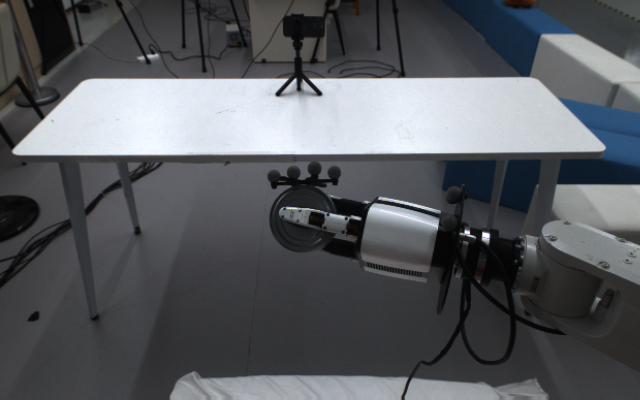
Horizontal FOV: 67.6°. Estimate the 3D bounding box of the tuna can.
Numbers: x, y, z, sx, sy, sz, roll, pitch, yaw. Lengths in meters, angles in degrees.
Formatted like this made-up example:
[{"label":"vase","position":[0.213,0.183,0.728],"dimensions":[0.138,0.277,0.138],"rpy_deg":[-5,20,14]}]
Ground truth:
[{"label":"tuna can","position":[-0.017,0.029,0.616],"dimensions":[0.085,0.085,0.034],"rpy_deg":[10,-6,11]}]
